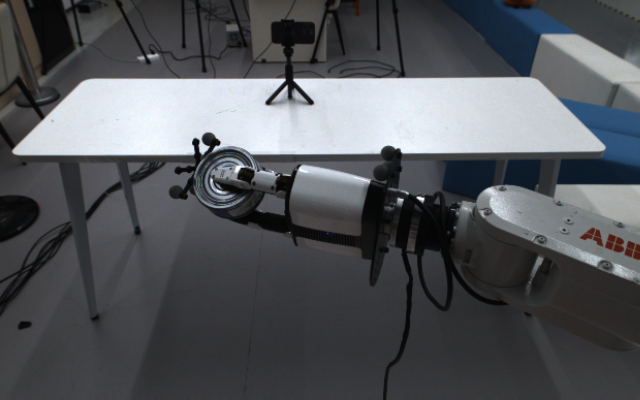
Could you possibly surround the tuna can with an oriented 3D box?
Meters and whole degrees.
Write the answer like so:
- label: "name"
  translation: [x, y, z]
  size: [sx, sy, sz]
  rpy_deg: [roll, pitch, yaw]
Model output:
- label: "tuna can"
  translation: [-0.107, -0.017, 0.594]
  size: [0.085, 0.034, 0.085]
  rpy_deg: [-3, 70, 9]
